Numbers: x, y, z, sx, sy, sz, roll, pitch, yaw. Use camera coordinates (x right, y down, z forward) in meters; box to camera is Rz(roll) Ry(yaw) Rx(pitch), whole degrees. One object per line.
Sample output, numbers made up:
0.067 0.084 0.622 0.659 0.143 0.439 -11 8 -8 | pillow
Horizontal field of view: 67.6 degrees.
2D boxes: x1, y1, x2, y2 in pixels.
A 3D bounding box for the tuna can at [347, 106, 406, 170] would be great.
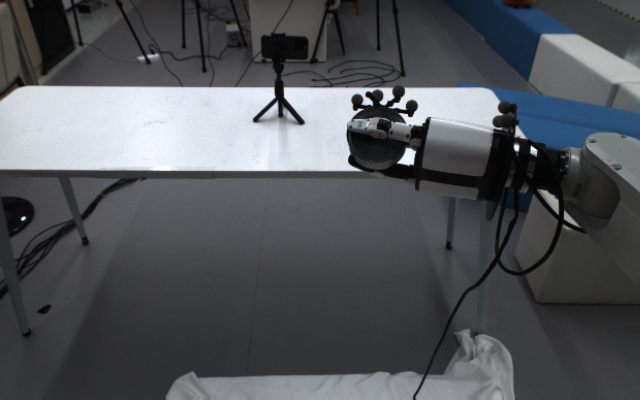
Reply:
0.081 -0.091 0.687 0.085 0.034 0.085 -3 69 7 | tuna can
